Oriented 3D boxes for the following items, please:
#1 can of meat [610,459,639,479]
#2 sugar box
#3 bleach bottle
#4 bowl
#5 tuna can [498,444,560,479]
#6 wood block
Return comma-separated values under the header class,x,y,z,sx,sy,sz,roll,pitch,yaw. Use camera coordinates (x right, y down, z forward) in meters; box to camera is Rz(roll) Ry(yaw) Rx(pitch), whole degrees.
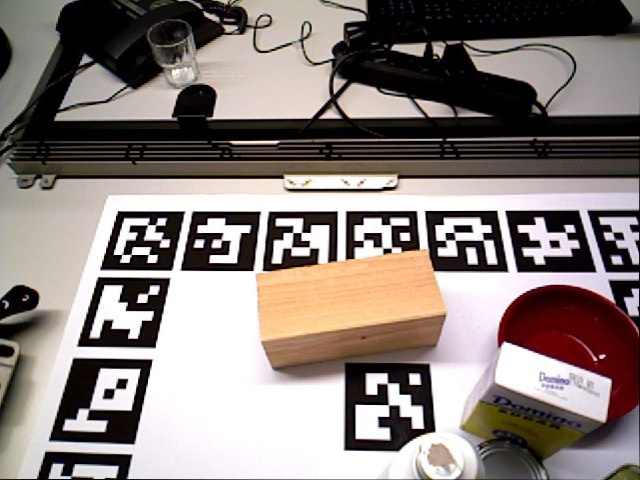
class,x,y,z,sx,sy,sz,roll,pitch,yaw
can of meat,0.274,0.258,0.500,0.100,0.085,0.057,-25,54,-15
sugar box,0.211,0.157,0.509,0.093,0.179,0.044,16,59,18
bleach bottle,0.087,0.208,0.442,0.101,0.255,0.067,-22,56,-12
bowl,0.294,0.126,0.601,0.161,0.056,0.159,-5,55,6
tuna can,0.190,0.249,0.535,0.085,0.034,0.084,-3,59,3
wood block,0.037,0.083,0.632,0.205,0.091,0.090,-8,60,-3
